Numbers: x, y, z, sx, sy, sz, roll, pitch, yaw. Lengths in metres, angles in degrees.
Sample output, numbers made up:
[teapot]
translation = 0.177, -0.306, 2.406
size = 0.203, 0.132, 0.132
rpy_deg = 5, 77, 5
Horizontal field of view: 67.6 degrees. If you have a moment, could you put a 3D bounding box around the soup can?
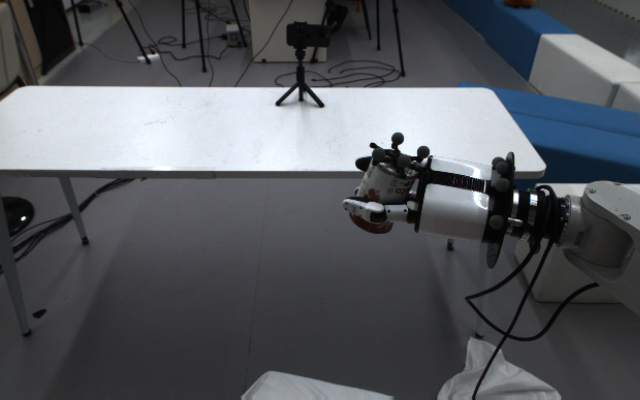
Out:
[soup can]
translation = 0.090, -0.012, 0.679
size = 0.067, 0.101, 0.067
rpy_deg = 14, 35, -10
